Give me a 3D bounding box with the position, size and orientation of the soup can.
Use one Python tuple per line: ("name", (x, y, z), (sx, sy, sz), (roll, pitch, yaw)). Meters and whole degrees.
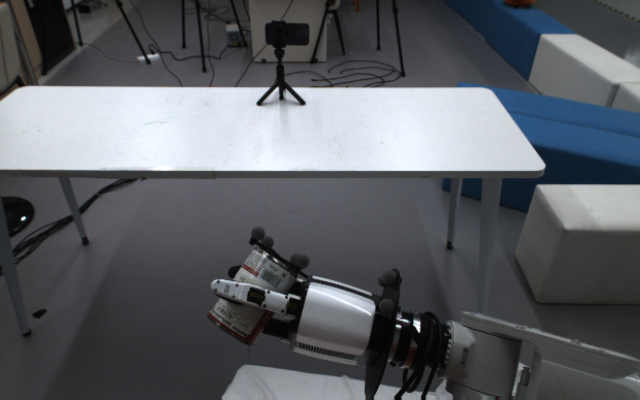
("soup can", (-0.080, 0.118, 0.596), (0.067, 0.067, 0.101), (26, 75, 31))
